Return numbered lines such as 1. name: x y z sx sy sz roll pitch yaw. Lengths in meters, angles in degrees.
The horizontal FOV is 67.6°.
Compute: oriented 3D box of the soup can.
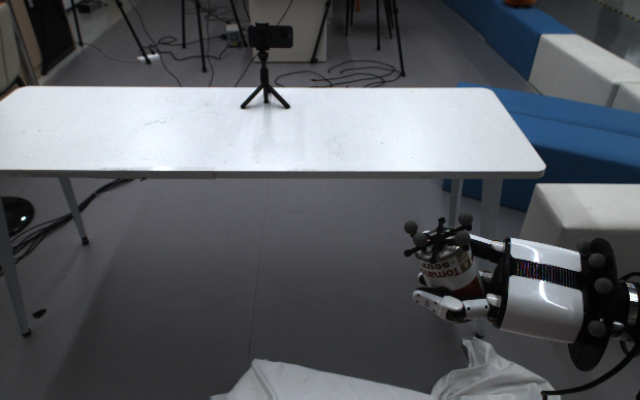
1. soup can: 0.167 0.092 0.609 0.067 0.101 0.067 -21 24 10
